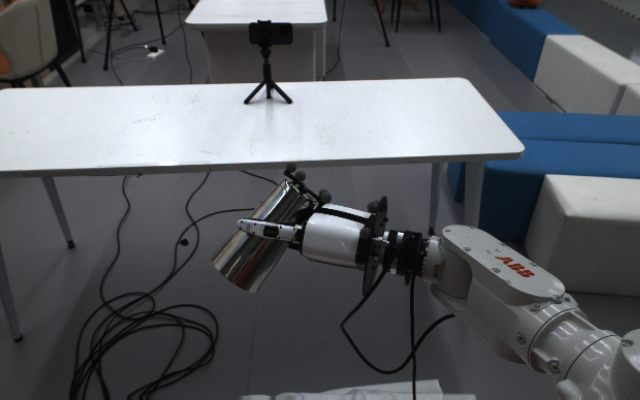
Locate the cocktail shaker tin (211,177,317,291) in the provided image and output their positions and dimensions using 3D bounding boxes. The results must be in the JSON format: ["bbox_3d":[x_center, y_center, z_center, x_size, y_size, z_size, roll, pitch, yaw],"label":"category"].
[{"bbox_3d":[-0.083,0.049,0.769,0.170,0.093,0.093,-50,46,4],"label":"cocktail shaker tin"}]
